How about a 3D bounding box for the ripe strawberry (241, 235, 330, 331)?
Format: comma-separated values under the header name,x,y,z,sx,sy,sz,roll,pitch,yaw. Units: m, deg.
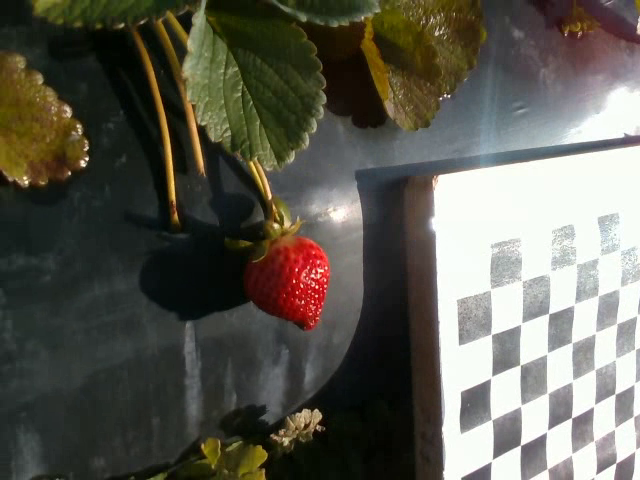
name,x,y,z,sx,sy,sz,roll,pitch,yaw
ripe strawberry,-0.011,0.019,0.229,0.040,0.044,0.036,-32,11,-26
